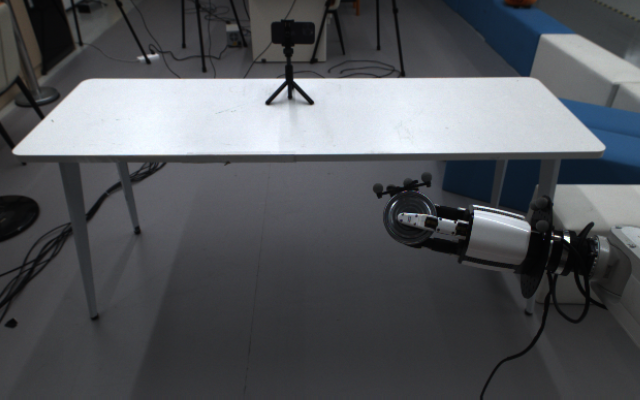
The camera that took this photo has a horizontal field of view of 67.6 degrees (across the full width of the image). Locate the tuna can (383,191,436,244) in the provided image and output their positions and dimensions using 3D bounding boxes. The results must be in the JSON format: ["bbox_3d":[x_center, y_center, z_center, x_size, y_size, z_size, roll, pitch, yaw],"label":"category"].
[{"bbox_3d":[0.146,0.025,0.774,0.085,0.085,0.034,12,-6,14],"label":"tuna can"}]
